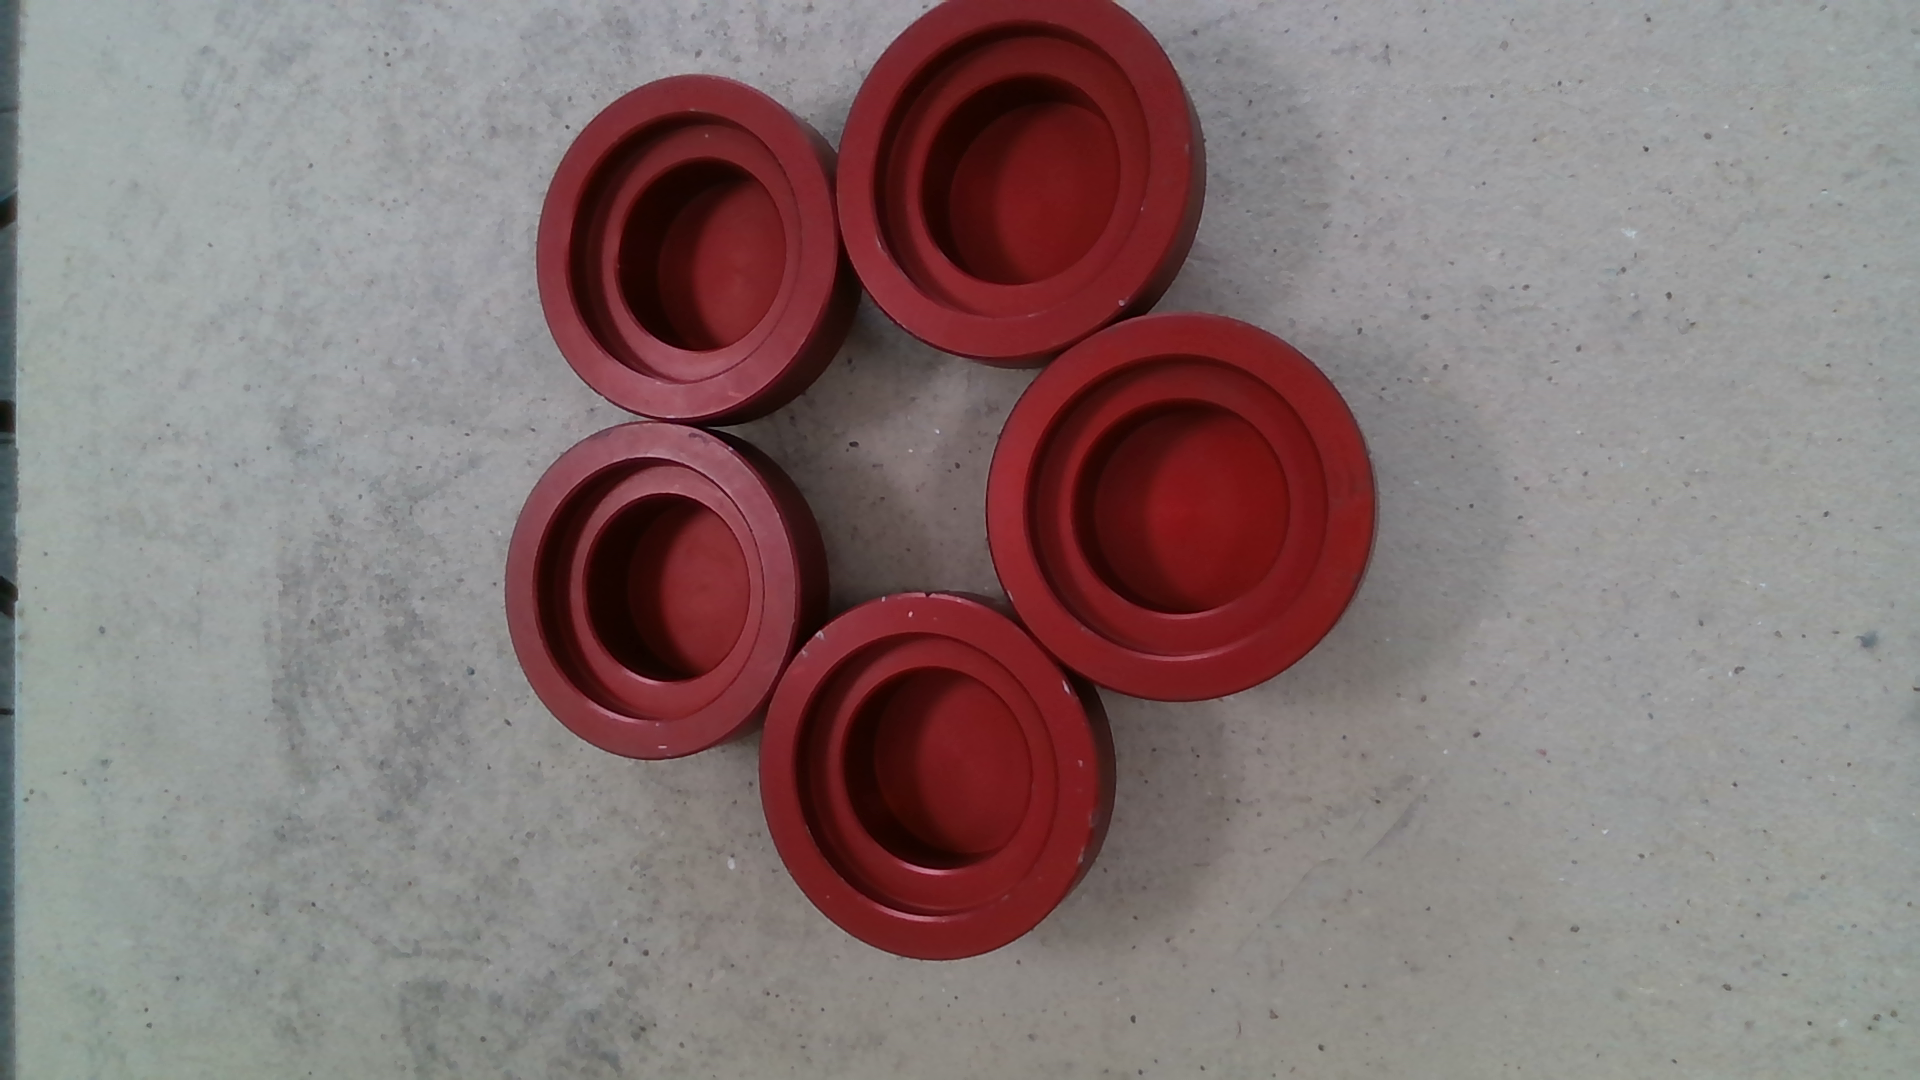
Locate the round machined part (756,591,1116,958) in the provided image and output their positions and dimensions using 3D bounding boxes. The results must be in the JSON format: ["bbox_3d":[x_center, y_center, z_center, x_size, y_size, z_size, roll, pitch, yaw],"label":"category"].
[{"bbox_3d":[-0.004,0.062,0.386,0.098,0.042,0.098,0,92,19],"label":"round machined part"}]

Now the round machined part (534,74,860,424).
[{"bbox_3d":[-0.073,-0.083,0.411,0.098,0.042,0.098,0,92,19],"label":"round machined part"}]

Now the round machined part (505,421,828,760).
[{"bbox_3d":[-0.084,0.014,0.416,0.098,0.042,0.098,0,92,20],"label":"round machined part"}]

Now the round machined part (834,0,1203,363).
[{"bbox_3d":[0.019,-0.097,0.377,0.098,0.042,0.098,0,91,19],"label":"round machined part"}]

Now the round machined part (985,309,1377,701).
[{"bbox_3d":[0.059,-0.009,0.362,0.098,0.042,0.098,0,92,19],"label":"round machined part"}]
